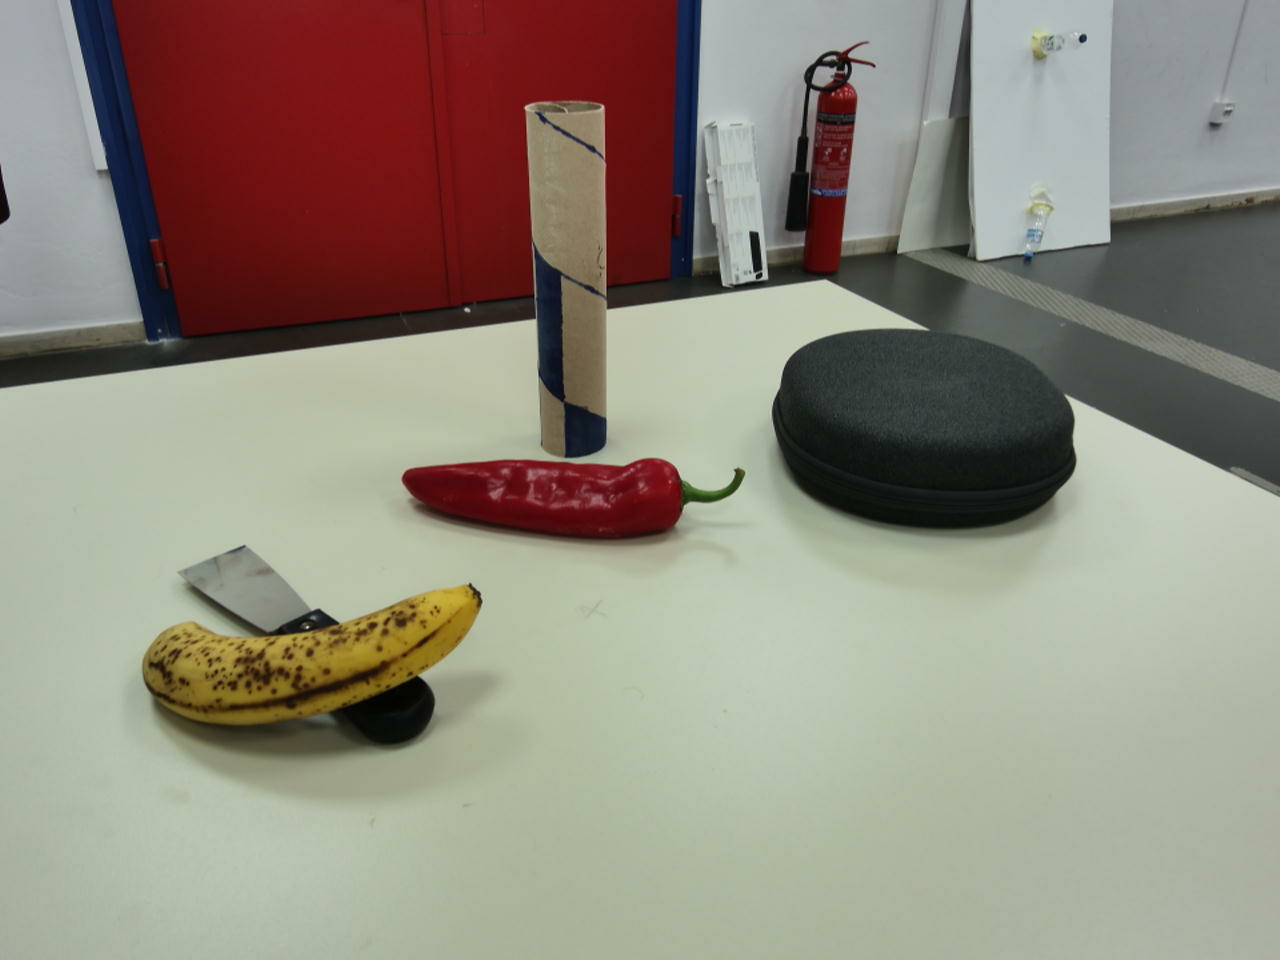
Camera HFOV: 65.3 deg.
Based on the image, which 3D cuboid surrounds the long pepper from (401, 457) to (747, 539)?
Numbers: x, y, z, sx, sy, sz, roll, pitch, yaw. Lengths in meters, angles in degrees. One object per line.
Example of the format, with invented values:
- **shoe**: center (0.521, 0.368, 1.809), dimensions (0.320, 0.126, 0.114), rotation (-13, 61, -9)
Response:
- **long pepper**: center (-0.044, 0.007, 0.595), dimensions (0.211, 0.043, 0.050), rotation (3, 26, 7)
